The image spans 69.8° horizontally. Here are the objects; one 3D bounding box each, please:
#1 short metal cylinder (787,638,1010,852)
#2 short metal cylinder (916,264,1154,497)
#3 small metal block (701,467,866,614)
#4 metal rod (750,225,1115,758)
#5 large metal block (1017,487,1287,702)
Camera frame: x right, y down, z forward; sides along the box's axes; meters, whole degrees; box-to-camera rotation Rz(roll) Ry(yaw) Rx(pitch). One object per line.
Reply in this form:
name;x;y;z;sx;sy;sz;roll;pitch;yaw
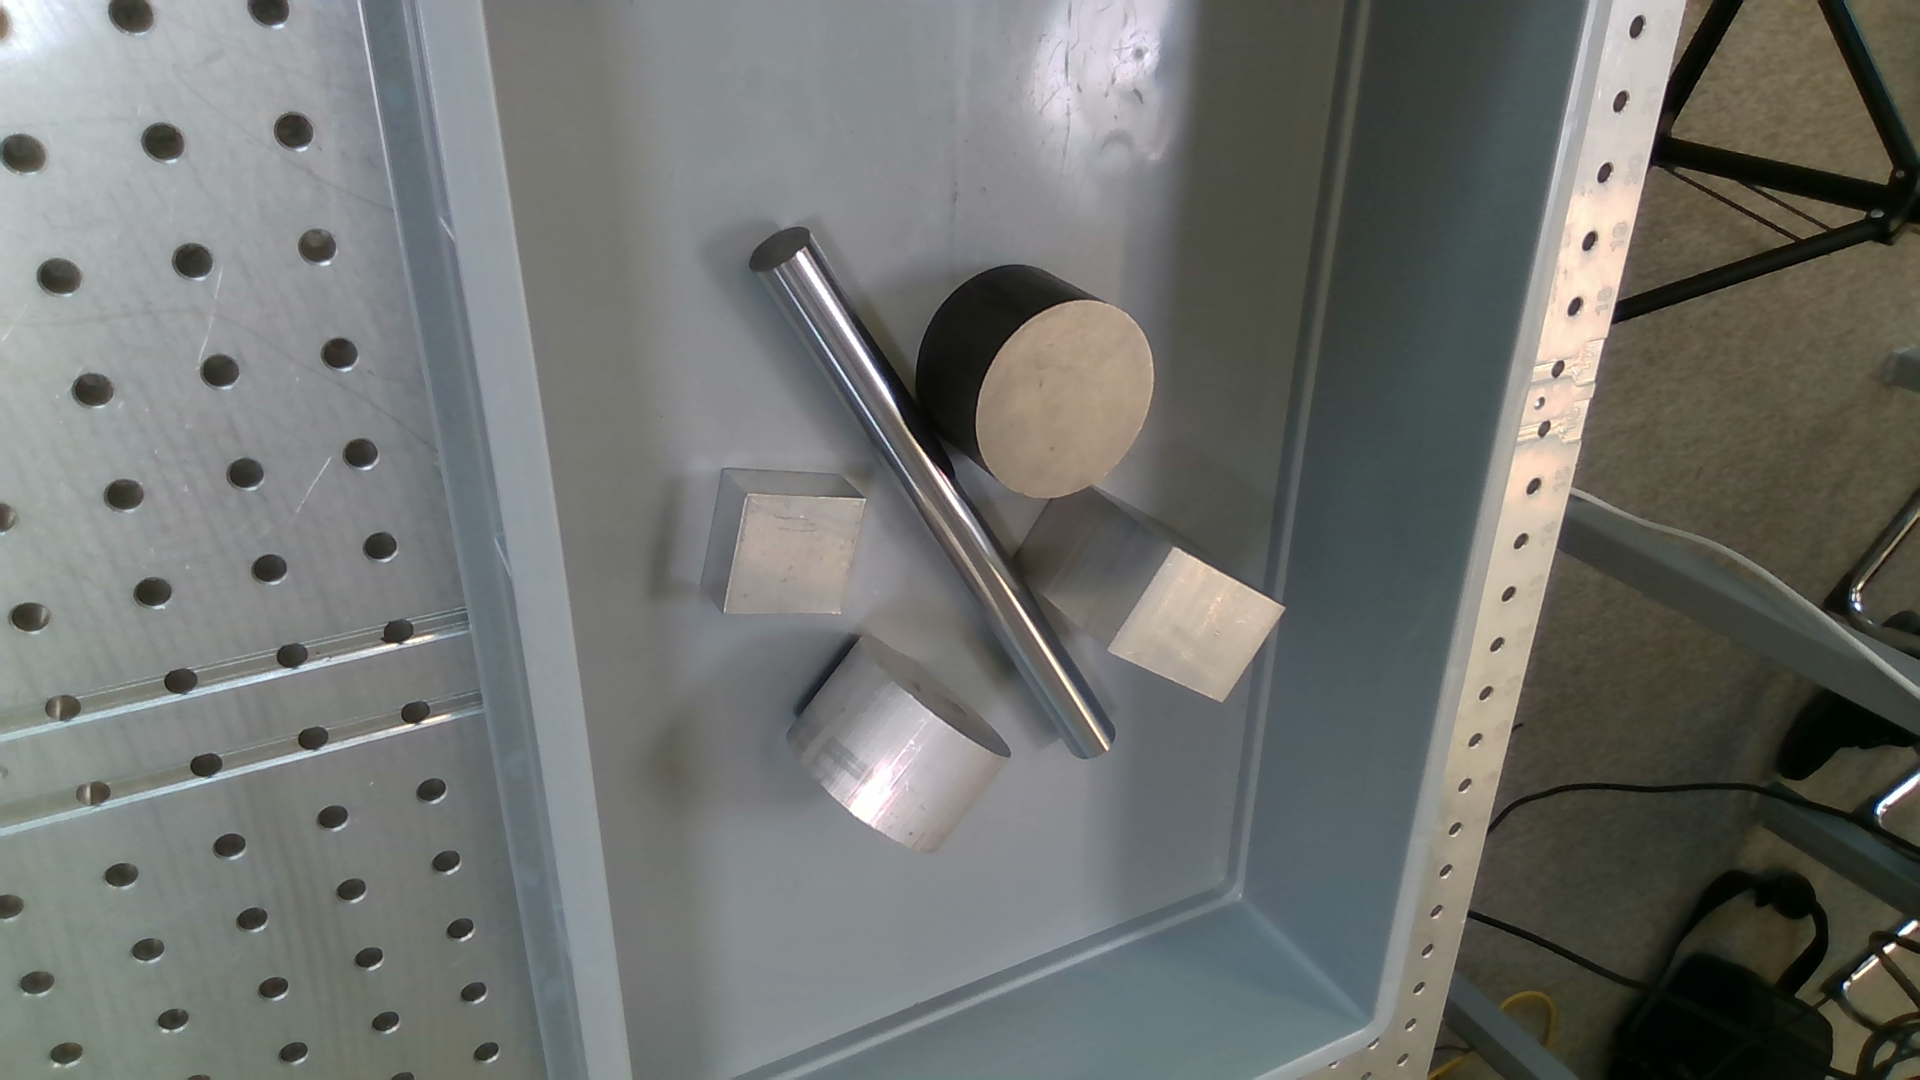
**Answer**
short metal cylinder;-0.025;0.084;0.575;0.080;0.080;0.050;34;95;-39
short metal cylinder;0.030;-0.064;0.547;0.080;0.050;0.080;-14;122;-25
small metal block;-0.069;0.000;0.538;0.050;0.025;0.050;1;114;-32
metal rod;0.000;-0.004;0.578;0.025;0.025;0.301;-39;129;-8
large metal block;0.081;0.020;0.605;0.080;0.080;0.050;25;100;-38
